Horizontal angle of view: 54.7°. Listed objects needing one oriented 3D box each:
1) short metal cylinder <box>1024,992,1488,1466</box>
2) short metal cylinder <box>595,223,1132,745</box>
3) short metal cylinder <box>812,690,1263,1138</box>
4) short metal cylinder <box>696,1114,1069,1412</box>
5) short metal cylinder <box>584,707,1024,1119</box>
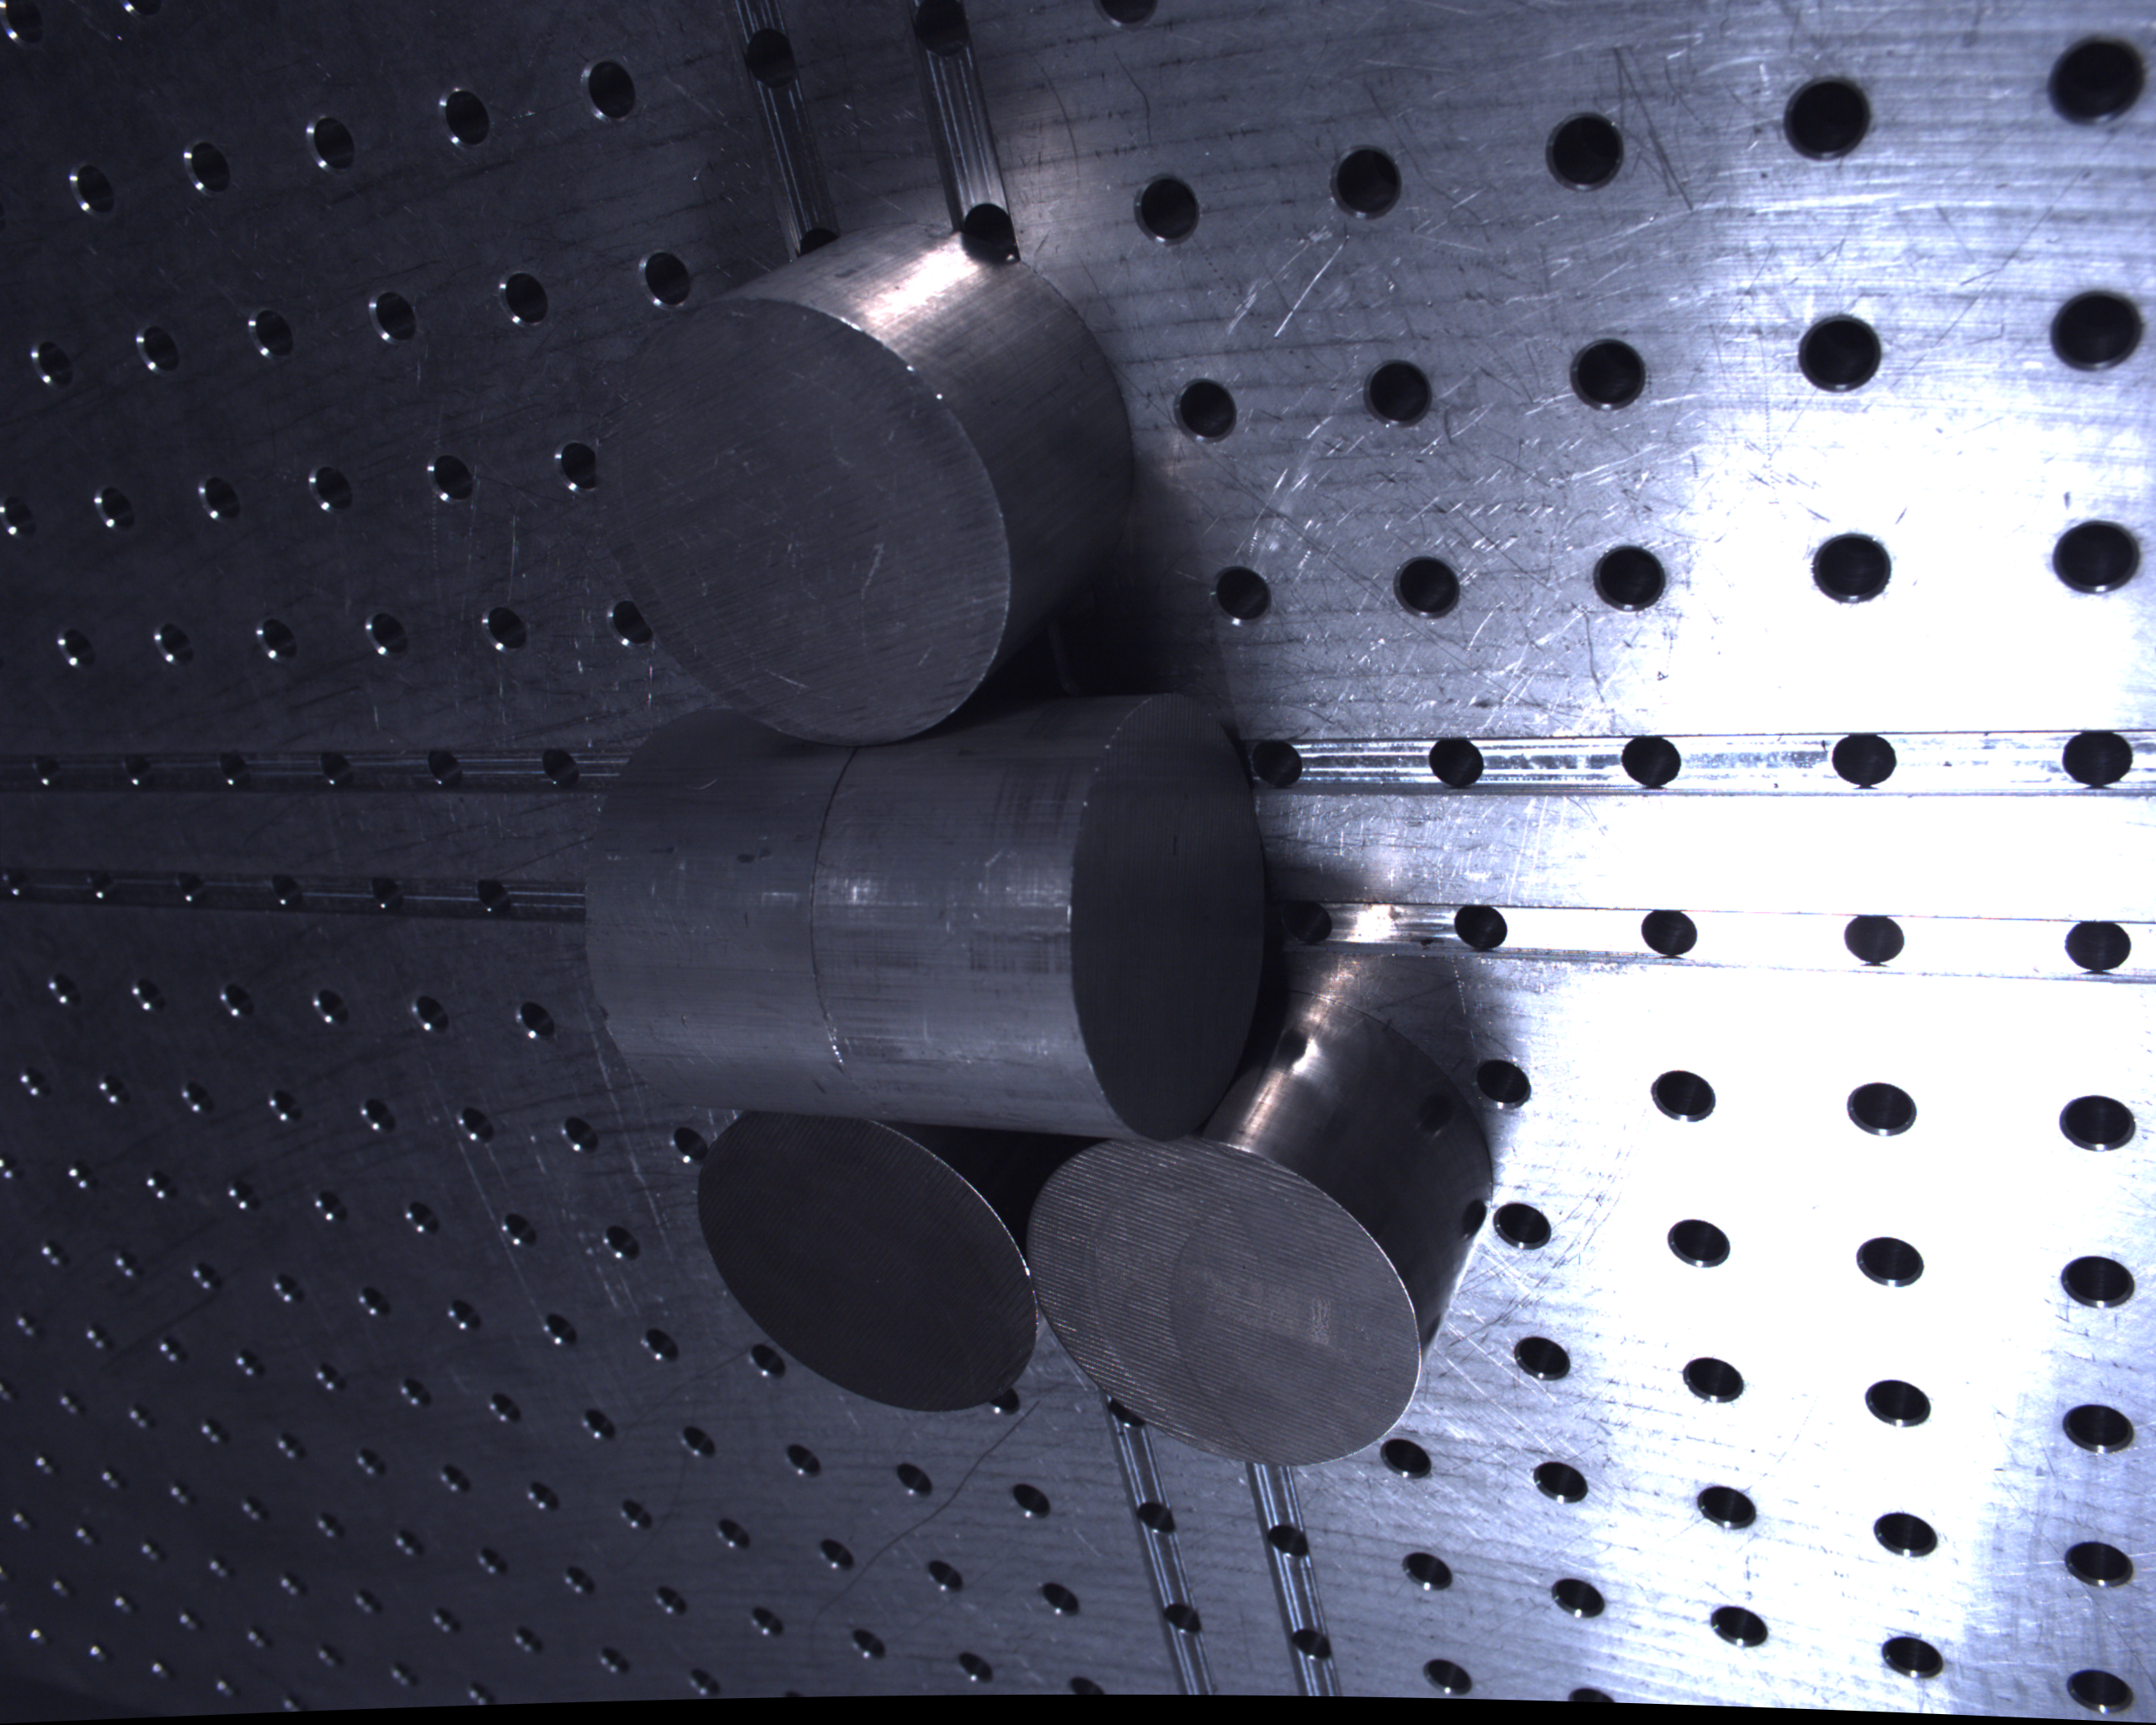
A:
[{"bbox_3d":[0.036,0.073,0.418,0.080,0.050,0.079,13,124,20],"label":"short metal cylinder"},{"bbox_3d":[-0.037,-0.068,0.371,0.080,0.050,0.079,13,124,20],"label":"short metal cylinder"},{"bbox_3d":[-0.005,0.009,0.383,0.050,0.080,0.080,0,119,28],"label":"short metal cylinder"},{"bbox_3d":[-0.035,0.072,0.455,0.080,0.050,0.079,13,124,20],"label":"short metal cylinder"},{"bbox_3d":[-0.050,0.009,0.406,0.050,0.080,0.080,0,119,28],"label":"short metal cylinder"}]
